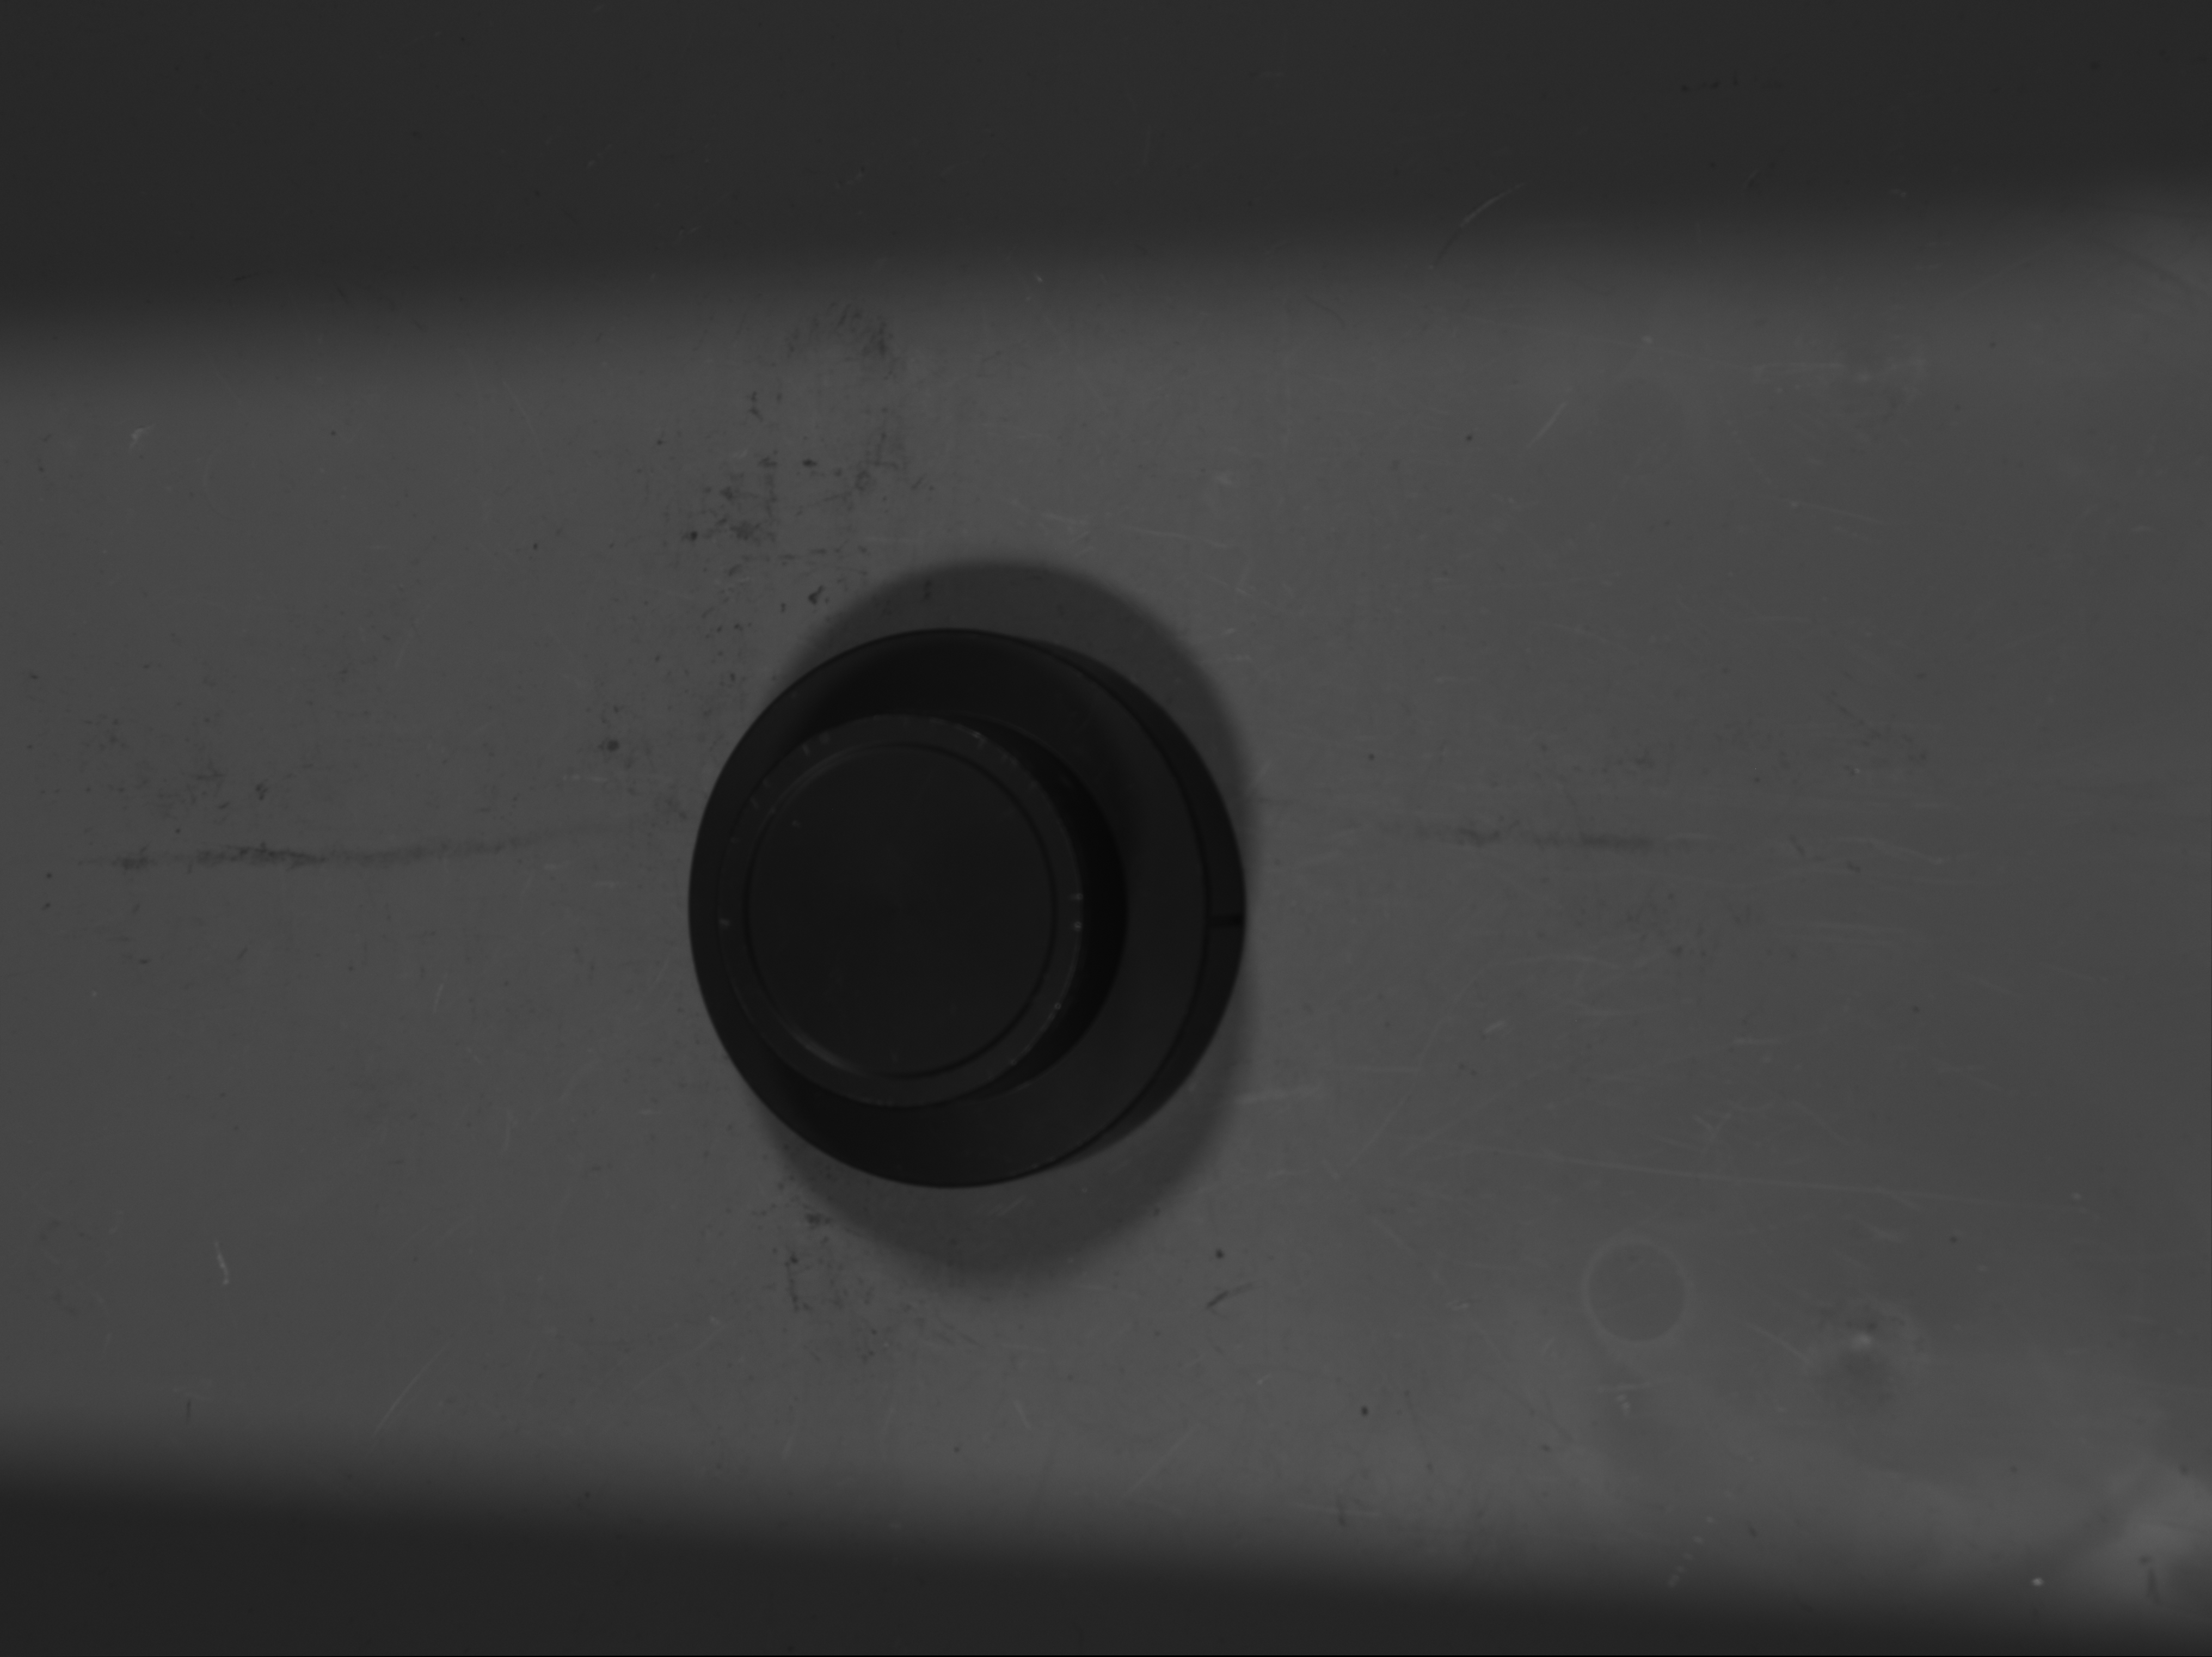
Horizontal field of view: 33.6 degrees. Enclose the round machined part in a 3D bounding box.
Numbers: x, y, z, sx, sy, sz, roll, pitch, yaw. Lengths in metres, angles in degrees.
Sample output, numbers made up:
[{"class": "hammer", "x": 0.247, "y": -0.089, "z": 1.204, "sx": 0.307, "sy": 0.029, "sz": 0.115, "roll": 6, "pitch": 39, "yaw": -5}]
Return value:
[{"class": "round machined part", "x": -0.023, "y": 0.014, "z": 0.640, "sx": 0.098, "sy": 0.042, "sz": 0.098, "roll": 0, "pitch": 90, "yaw": 20}]
